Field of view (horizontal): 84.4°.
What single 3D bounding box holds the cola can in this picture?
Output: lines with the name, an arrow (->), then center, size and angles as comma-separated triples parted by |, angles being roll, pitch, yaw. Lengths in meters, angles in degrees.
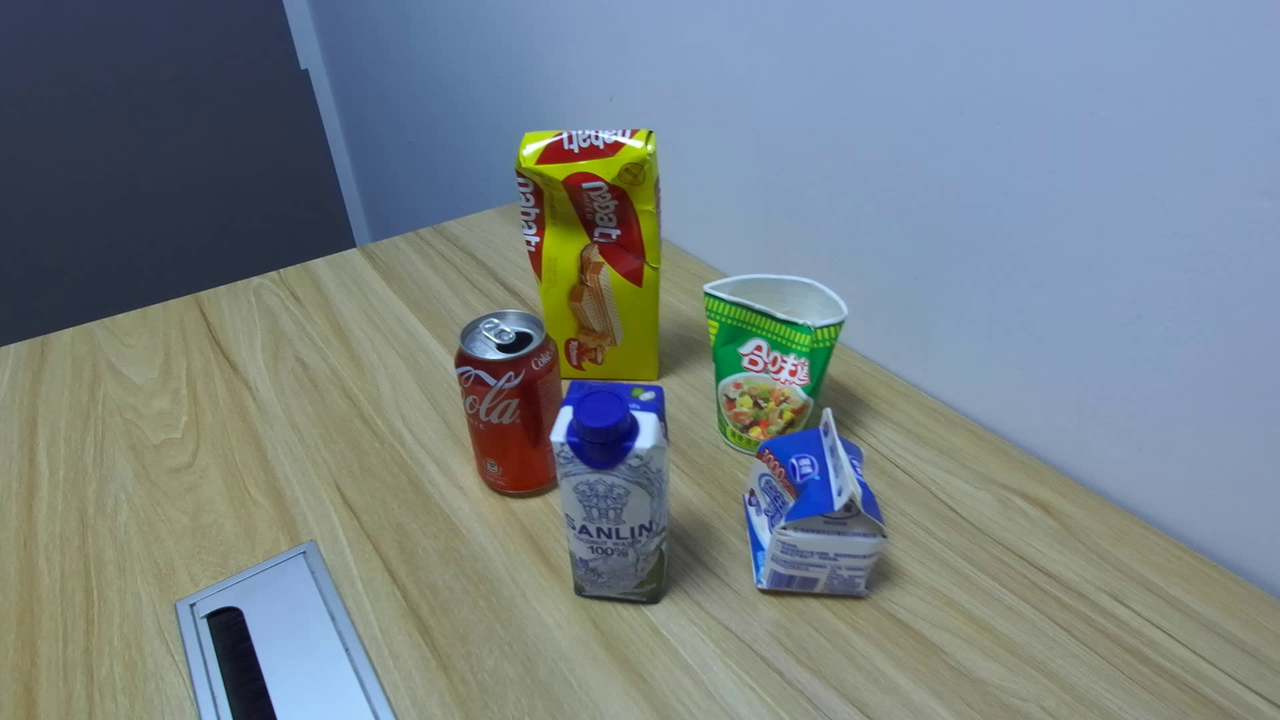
cola can -> -0.086, 0.028, 0.482 | 0.068, 0.120, 0.067 | 0, 38, 0

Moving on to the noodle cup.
noodle cup -> 0.096, 0.005, 0.512 | 0.075, 0.122, 0.082 | -11, 28, -27

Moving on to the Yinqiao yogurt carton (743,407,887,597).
Yinqiao yogurt carton -> 0.106, 0.083, 0.420 | 0.071, 0.094, 0.077 | 4, 38, -1

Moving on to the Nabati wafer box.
Nabati wafer box -> -0.036, -0.075, 0.548 | 0.107, 0.204, 0.042 | 1, 36, 4

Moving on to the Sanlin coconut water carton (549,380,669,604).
Sanlin coconut water carton -> -0.013, 0.072, 0.399 | 0.060, 0.144, 0.061 | 2, 35, 7
